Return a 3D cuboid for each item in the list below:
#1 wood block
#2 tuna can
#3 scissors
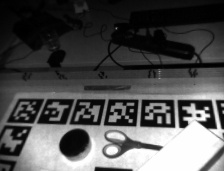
[{"bbox_3d":[0.150,0.205,0.509,0.207,0.092,0.088,-35,51,-17],"label":"wood block"},{"bbox_3d":[-0.118,0.175,0.624,0.085,0.034,0.085,-6,50,8],"label":"tuna can"},{"bbox_3d":[0.054,0.177,0.599,0.201,0.016,0.088,5,52,20],"label":"scissors"}]
